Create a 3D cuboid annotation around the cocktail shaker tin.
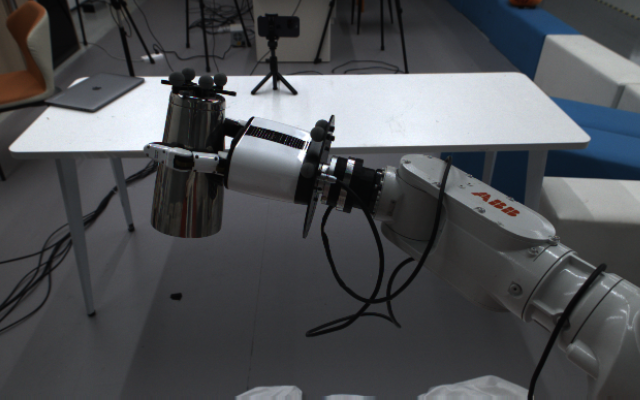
[{"bbox_3d":[-0.161,-0.048,0.613,0.093,0.170,0.093,10,19,-3],"label":"cocktail shaker tin"}]
